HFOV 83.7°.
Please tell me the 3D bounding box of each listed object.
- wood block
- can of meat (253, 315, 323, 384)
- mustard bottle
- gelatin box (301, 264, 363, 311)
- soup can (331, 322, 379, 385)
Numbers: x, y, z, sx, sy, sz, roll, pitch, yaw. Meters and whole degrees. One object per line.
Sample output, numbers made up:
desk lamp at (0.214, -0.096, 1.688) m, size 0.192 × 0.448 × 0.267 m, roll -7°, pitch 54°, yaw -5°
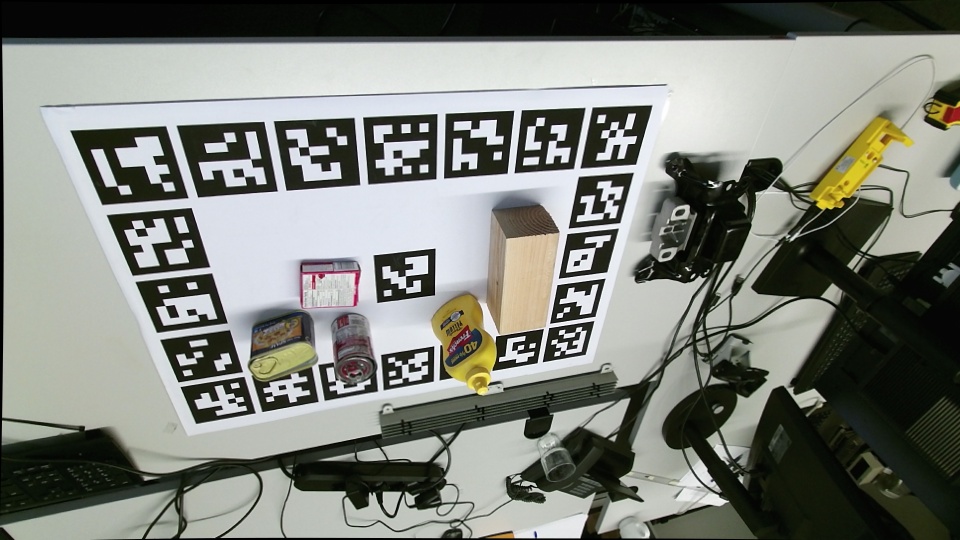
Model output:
wood block at (0.073, 0.007, 0.910) m, size 0.091 × 0.089 × 0.206 m, roll -6°, pitch 131°, yaw -14°
can of meat at (-0.308, 0.126, 0.867) m, size 0.102 × 0.083 × 0.058 m, roll -17°, pitch 128°, yaw -4°
mustard bottle at (-0.014, 0.130, 0.912) m, size 0.096 × 0.190 × 0.058 m, roll -27°, pitch 130°, yaw 3°
gelatin box at (-0.236, 0.028, 0.848) m, size 0.090 × 0.030 × 0.073 m, roll 0°, pitch 123°, yaw -23°
soup can at (-0.210, 0.143, 0.890) m, size 0.068 × 0.101 × 0.068 m, roll -10°, pitch 126°, yaw -14°
